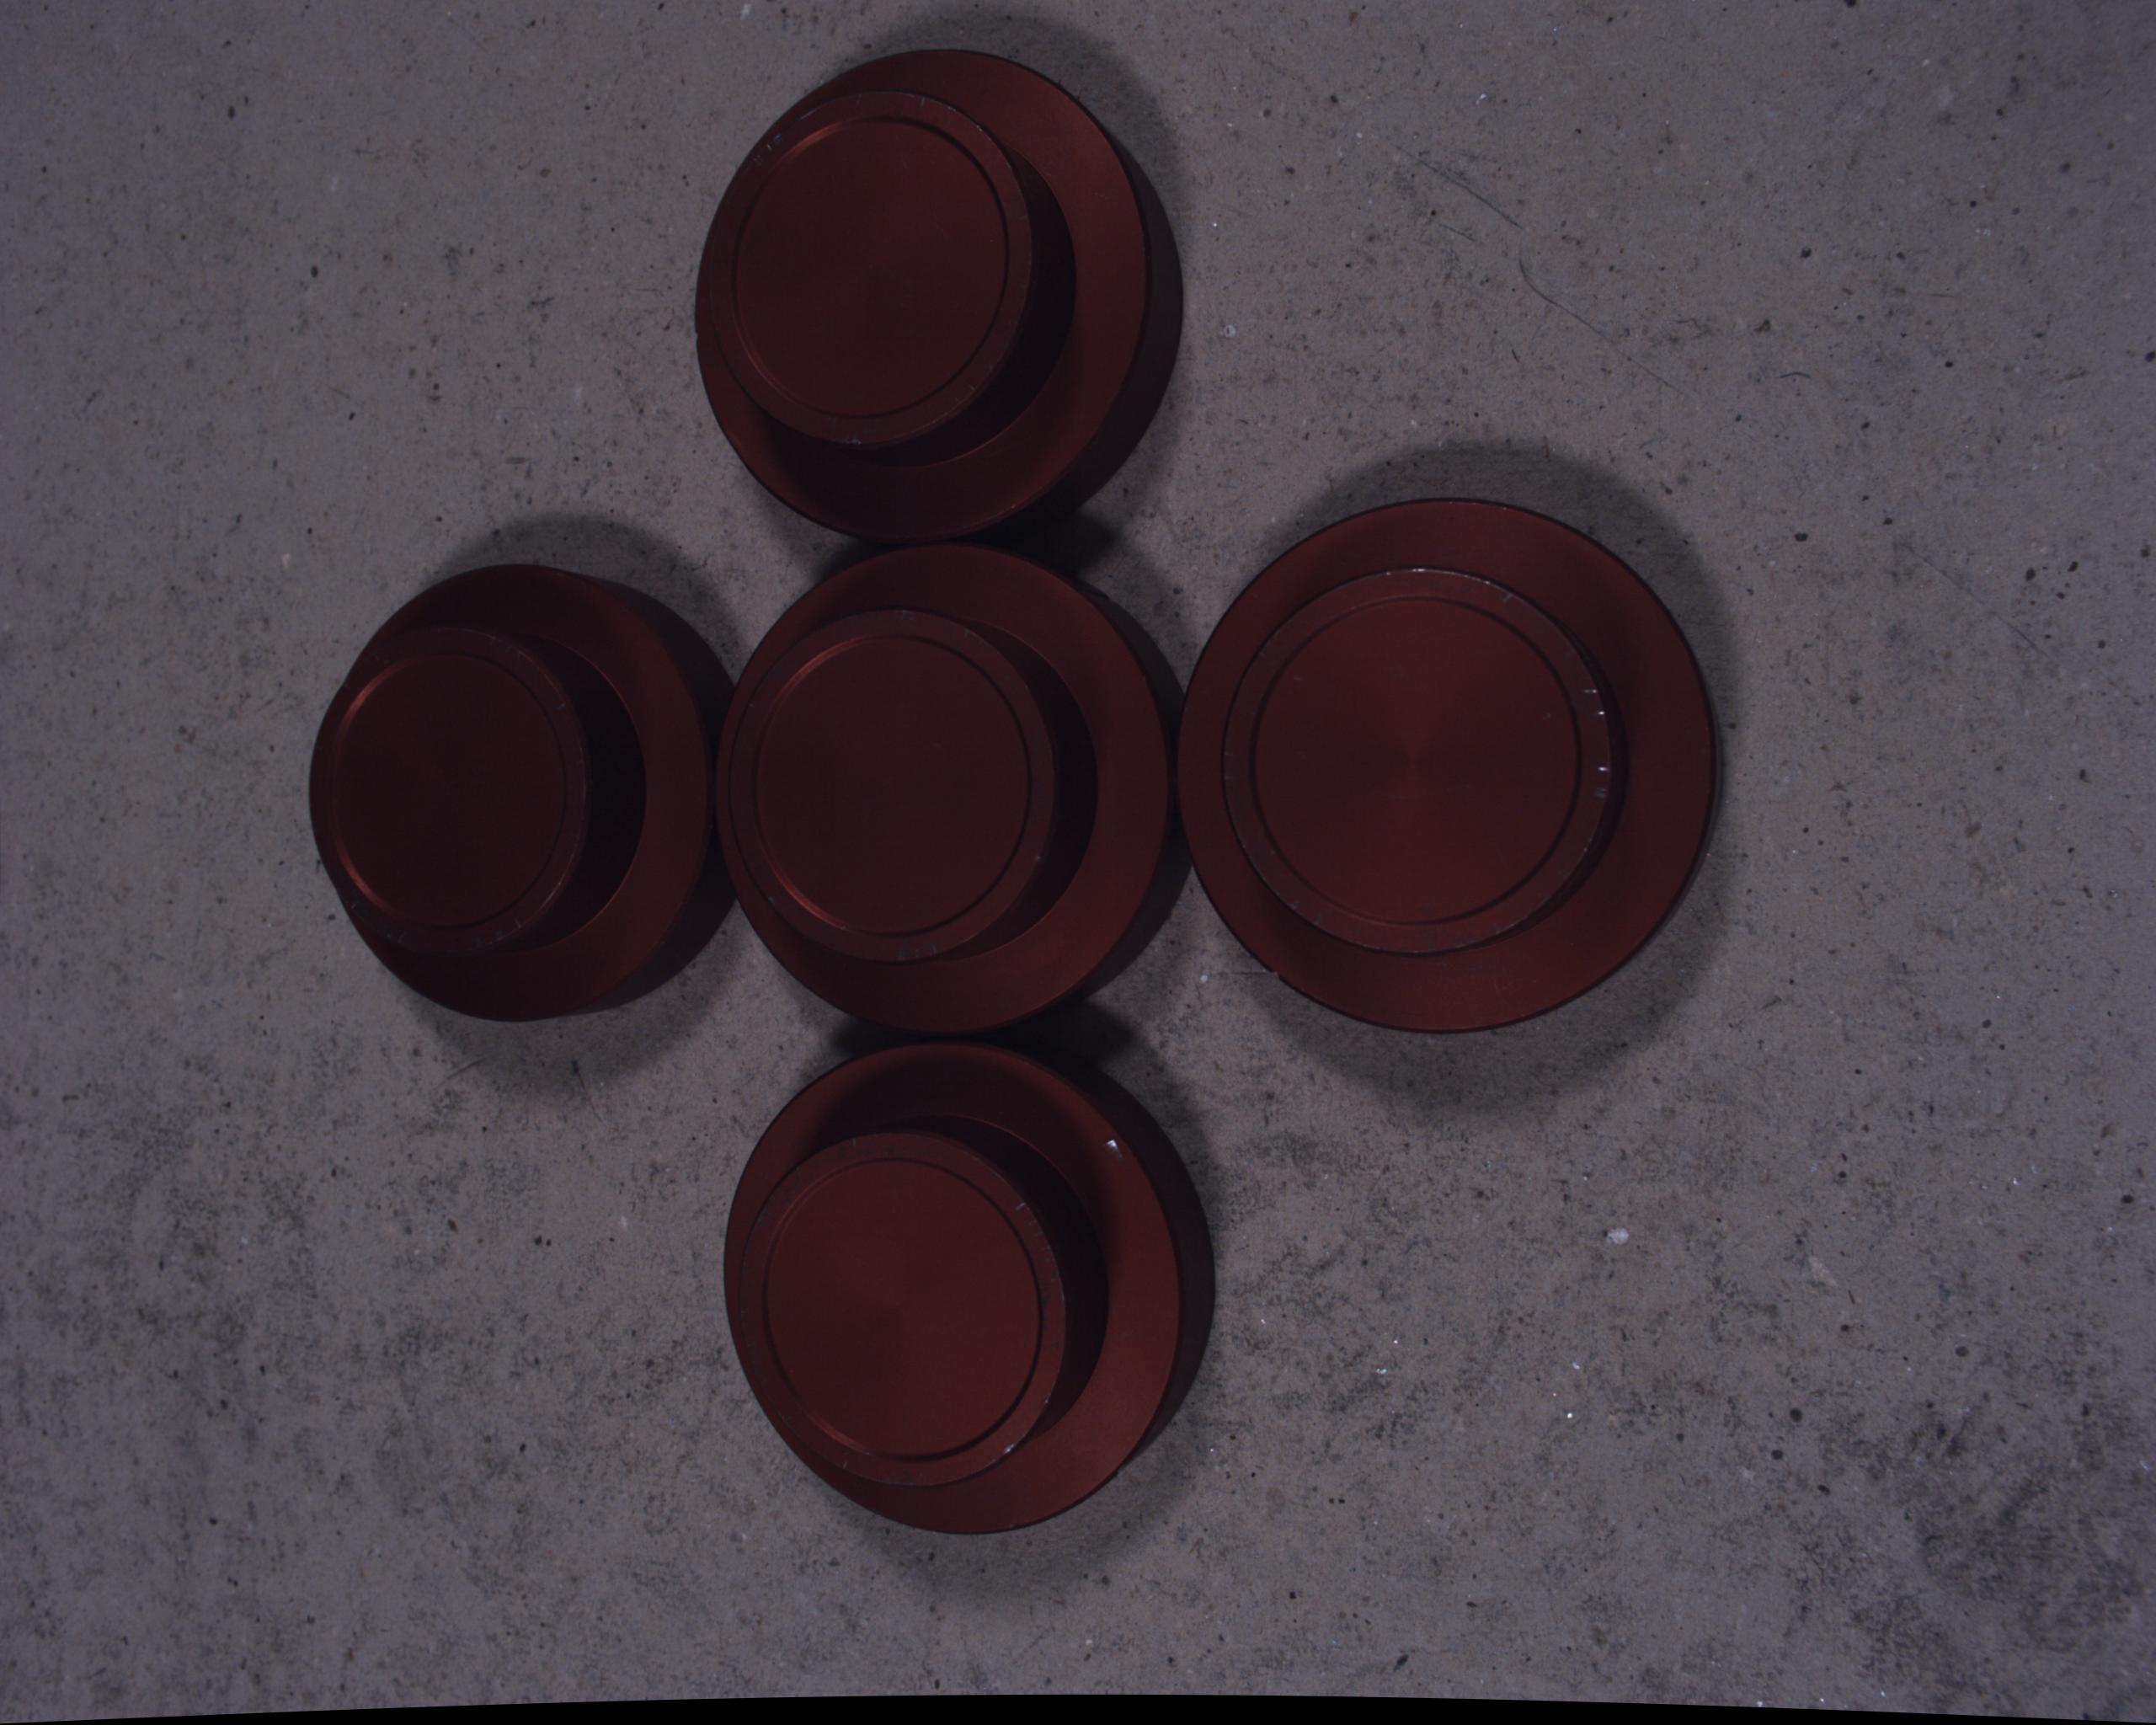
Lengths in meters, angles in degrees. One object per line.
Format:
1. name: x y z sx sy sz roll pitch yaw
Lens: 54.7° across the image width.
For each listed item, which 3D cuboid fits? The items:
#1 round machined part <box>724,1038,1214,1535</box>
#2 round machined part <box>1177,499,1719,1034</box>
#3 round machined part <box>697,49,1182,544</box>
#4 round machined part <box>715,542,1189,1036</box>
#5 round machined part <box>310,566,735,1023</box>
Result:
1. round machined part: -0.026 0.083 0.409 0.098 0.042 0.097 0 90 19
2. round machined part: 0.065 -0.017 0.378 0.098 0.042 0.097 0 90 19
3. round machined part: -0.032 -0.112 0.412 0.098 0.042 0.097 0 90 19
4. round machined part: -0.028 -0.015 0.410 0.098 0.042 0.097 0 90 19
5. round machined part: -0.121 -0.014 0.443 0.098 0.042 0.097 0 90 19
